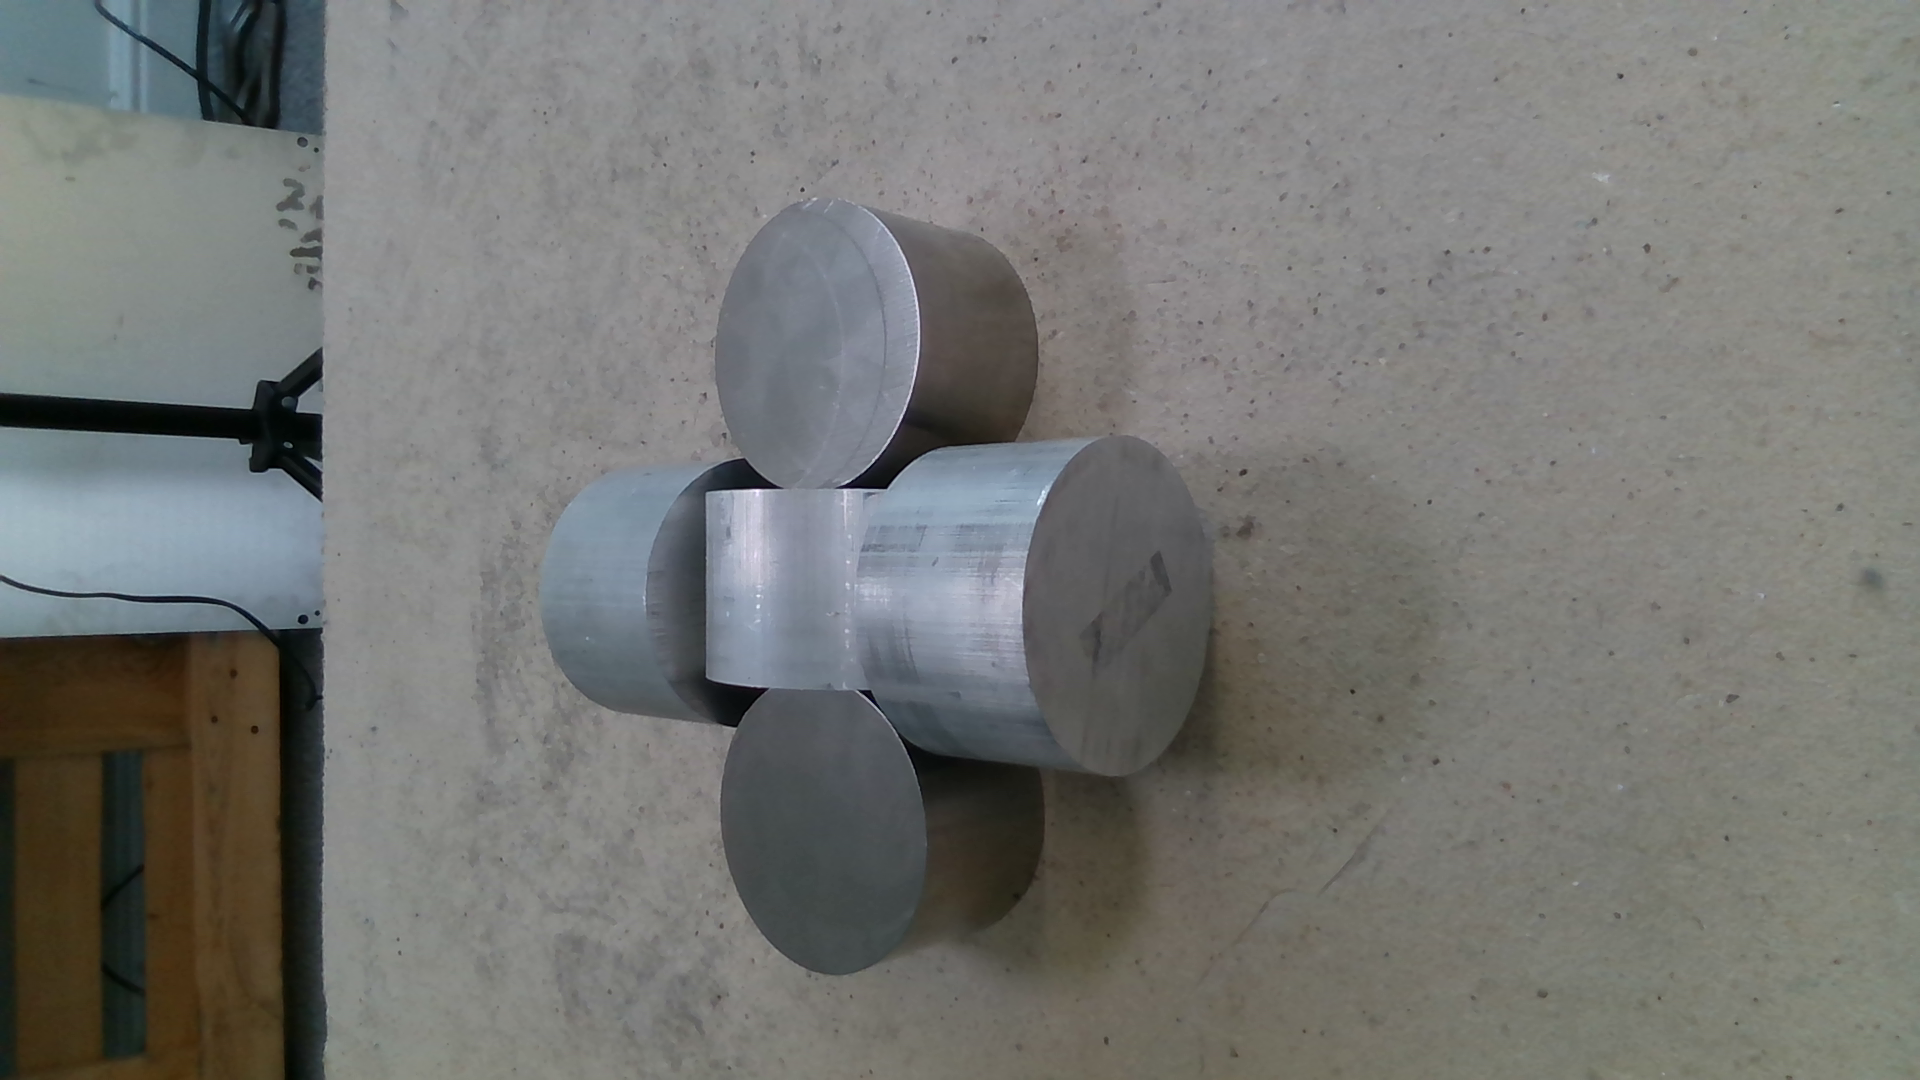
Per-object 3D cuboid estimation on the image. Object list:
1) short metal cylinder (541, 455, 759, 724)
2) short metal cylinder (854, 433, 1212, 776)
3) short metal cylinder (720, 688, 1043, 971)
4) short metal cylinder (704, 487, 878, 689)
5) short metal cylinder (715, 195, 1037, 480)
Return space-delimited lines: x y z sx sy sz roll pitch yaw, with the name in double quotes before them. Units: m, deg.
"short metal cylinder" -0.080 0.015 0.423 0.050 0.080 0.080 0 90 40
"short metal cylinder" 0.020 0.015 0.339 0.050 0.080 0.080 0 90 40
"short metal cylinder" -0.023 0.077 0.395 0.080 0.050 0.080 0 90 40
"short metal cylinder" -0.030 0.012 0.381 0.080 0.080 0.050 1 90 40
"short metal cylinder" -0.025 -0.054 0.395 0.080 0.050 0.080 1 92 40
